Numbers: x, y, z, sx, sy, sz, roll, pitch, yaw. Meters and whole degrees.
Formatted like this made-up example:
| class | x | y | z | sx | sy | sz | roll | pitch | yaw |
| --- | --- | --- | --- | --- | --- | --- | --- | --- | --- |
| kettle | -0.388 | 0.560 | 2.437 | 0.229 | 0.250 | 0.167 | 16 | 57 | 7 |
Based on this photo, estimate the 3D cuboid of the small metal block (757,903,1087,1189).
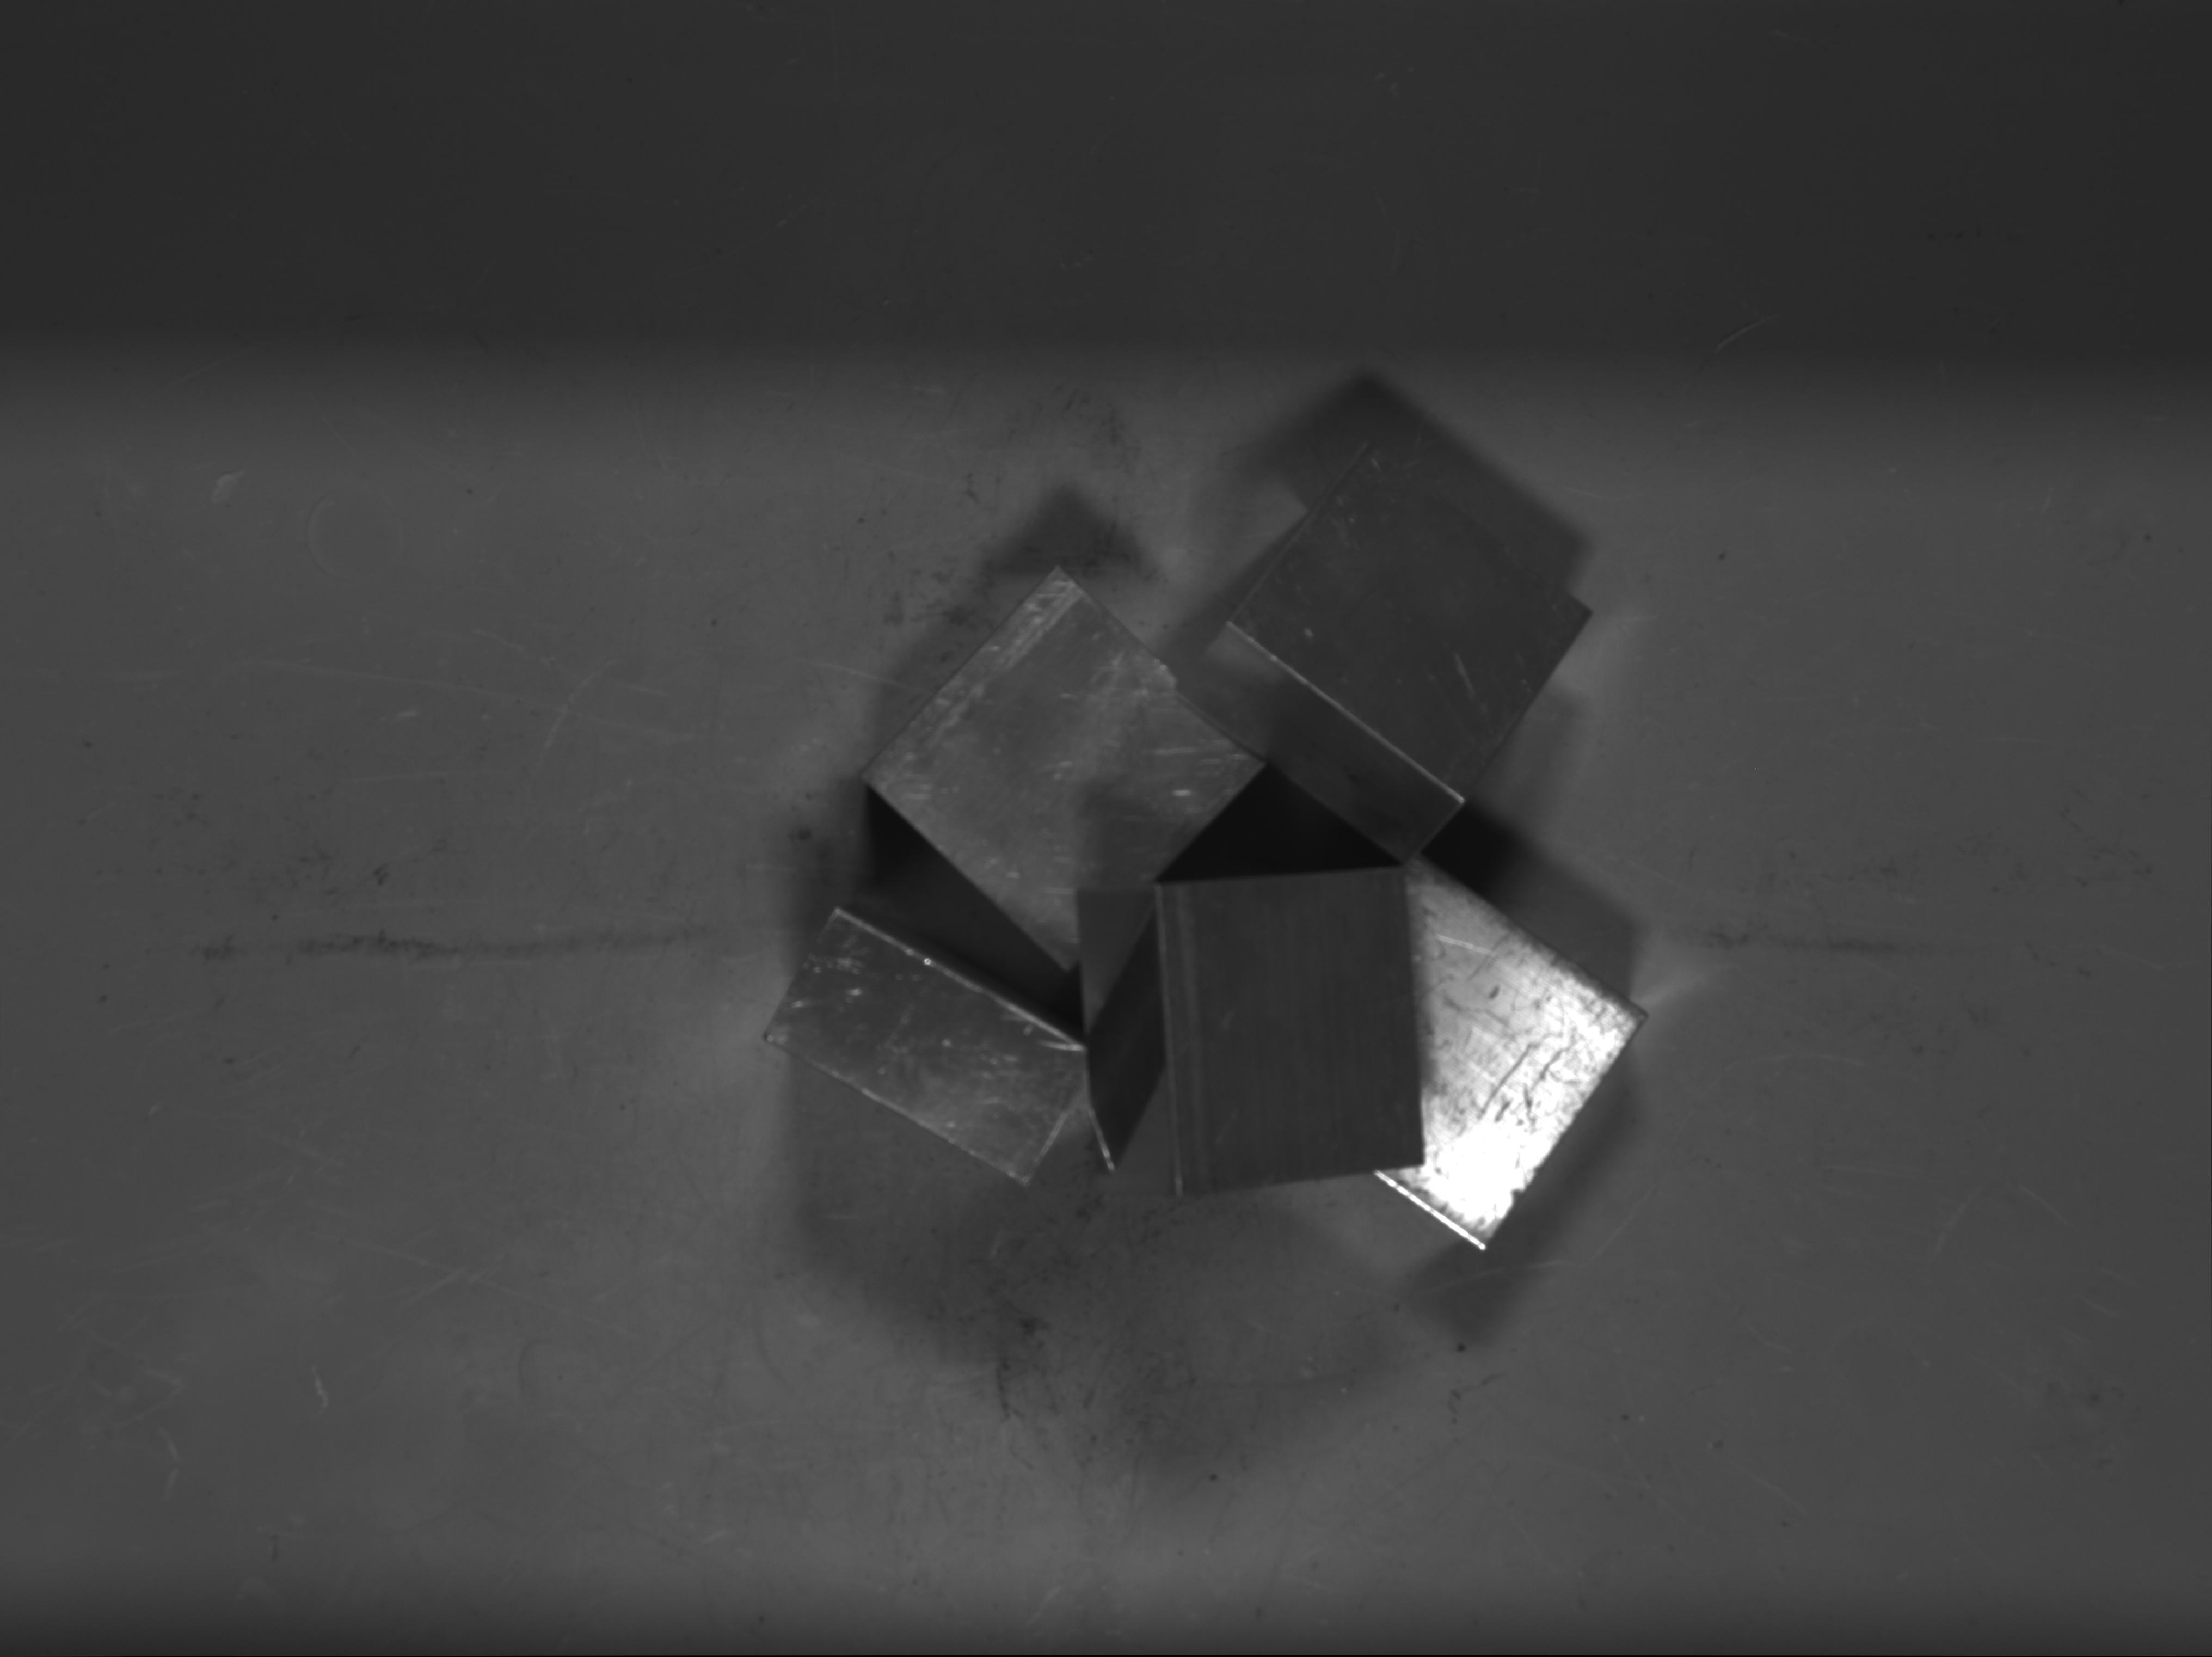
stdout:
| class | x | y | z | sx | sy | sz | roll | pitch | yaw |
| --- | --- | --- | --- | --- | --- | --- | --- | --- | --- |
| small metal block | -0.030 | 0.036 | 0.630 | 0.050 | 0.050 | 0.025 | 29 | 90 | 0 |

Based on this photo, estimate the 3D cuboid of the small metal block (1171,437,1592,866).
| class | x | y | z | sx | sy | sz | roll | pitch | yaw |
| --- | --- | --- | --- | --- | --- | --- | --- | --- | --- |
| small metal block | 0.048 | -0.031 | 0.633 | 0.050 | 0.025 | 0.050 | 37 | 57 | -1 |

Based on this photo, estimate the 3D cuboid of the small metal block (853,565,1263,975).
| class | x | y | z | sx | sy | sz | roll | pitch | yaw |
| --- | --- | --- | --- | --- | --- | --- | --- | --- | --- |
| small metal block | -0.008 | -0.010 | 0.643 | 0.050 | 0.025 | 0.050 | 44 | 90 | 0 |

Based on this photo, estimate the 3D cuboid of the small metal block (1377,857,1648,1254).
| class | x | y | z | sx | sy | sz | roll | pitch | yaw |
| --- | --- | --- | --- | --- | --- | --- | --- | --- | --- |
| small metal block | 0.059 | 0.039 | 0.644 | 0.050 | 0.025 | 0.050 | 35 | 90 | 0 |

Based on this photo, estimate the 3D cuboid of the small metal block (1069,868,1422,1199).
| class | x | y | z | sx | sy | sz | roll | pitch | yaw |
| --- | --- | --- | --- | --- | --- | --- | --- | --- | --- |
| small metal block | 0.023 | 0.033 | 0.608 | 0.050 | 0.025 | 0.050 | -4 | 90 | -33 |
